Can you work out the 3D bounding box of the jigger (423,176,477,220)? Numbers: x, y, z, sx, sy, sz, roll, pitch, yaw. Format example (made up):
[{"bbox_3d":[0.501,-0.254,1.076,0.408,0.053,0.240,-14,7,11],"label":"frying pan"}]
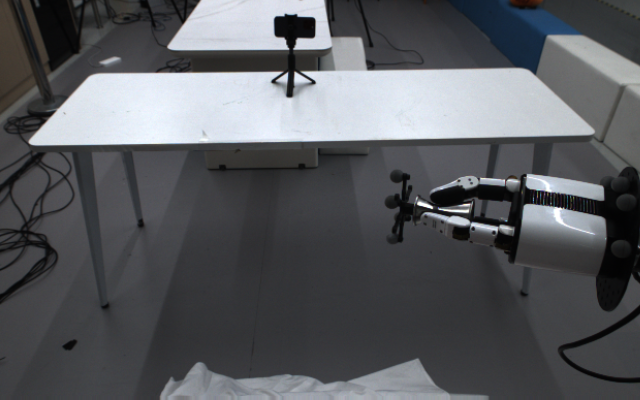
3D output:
[{"bbox_3d":[0.158,0.013,0.596,0.071,0.043,0.043,7,34,21],"label":"jigger"}]
